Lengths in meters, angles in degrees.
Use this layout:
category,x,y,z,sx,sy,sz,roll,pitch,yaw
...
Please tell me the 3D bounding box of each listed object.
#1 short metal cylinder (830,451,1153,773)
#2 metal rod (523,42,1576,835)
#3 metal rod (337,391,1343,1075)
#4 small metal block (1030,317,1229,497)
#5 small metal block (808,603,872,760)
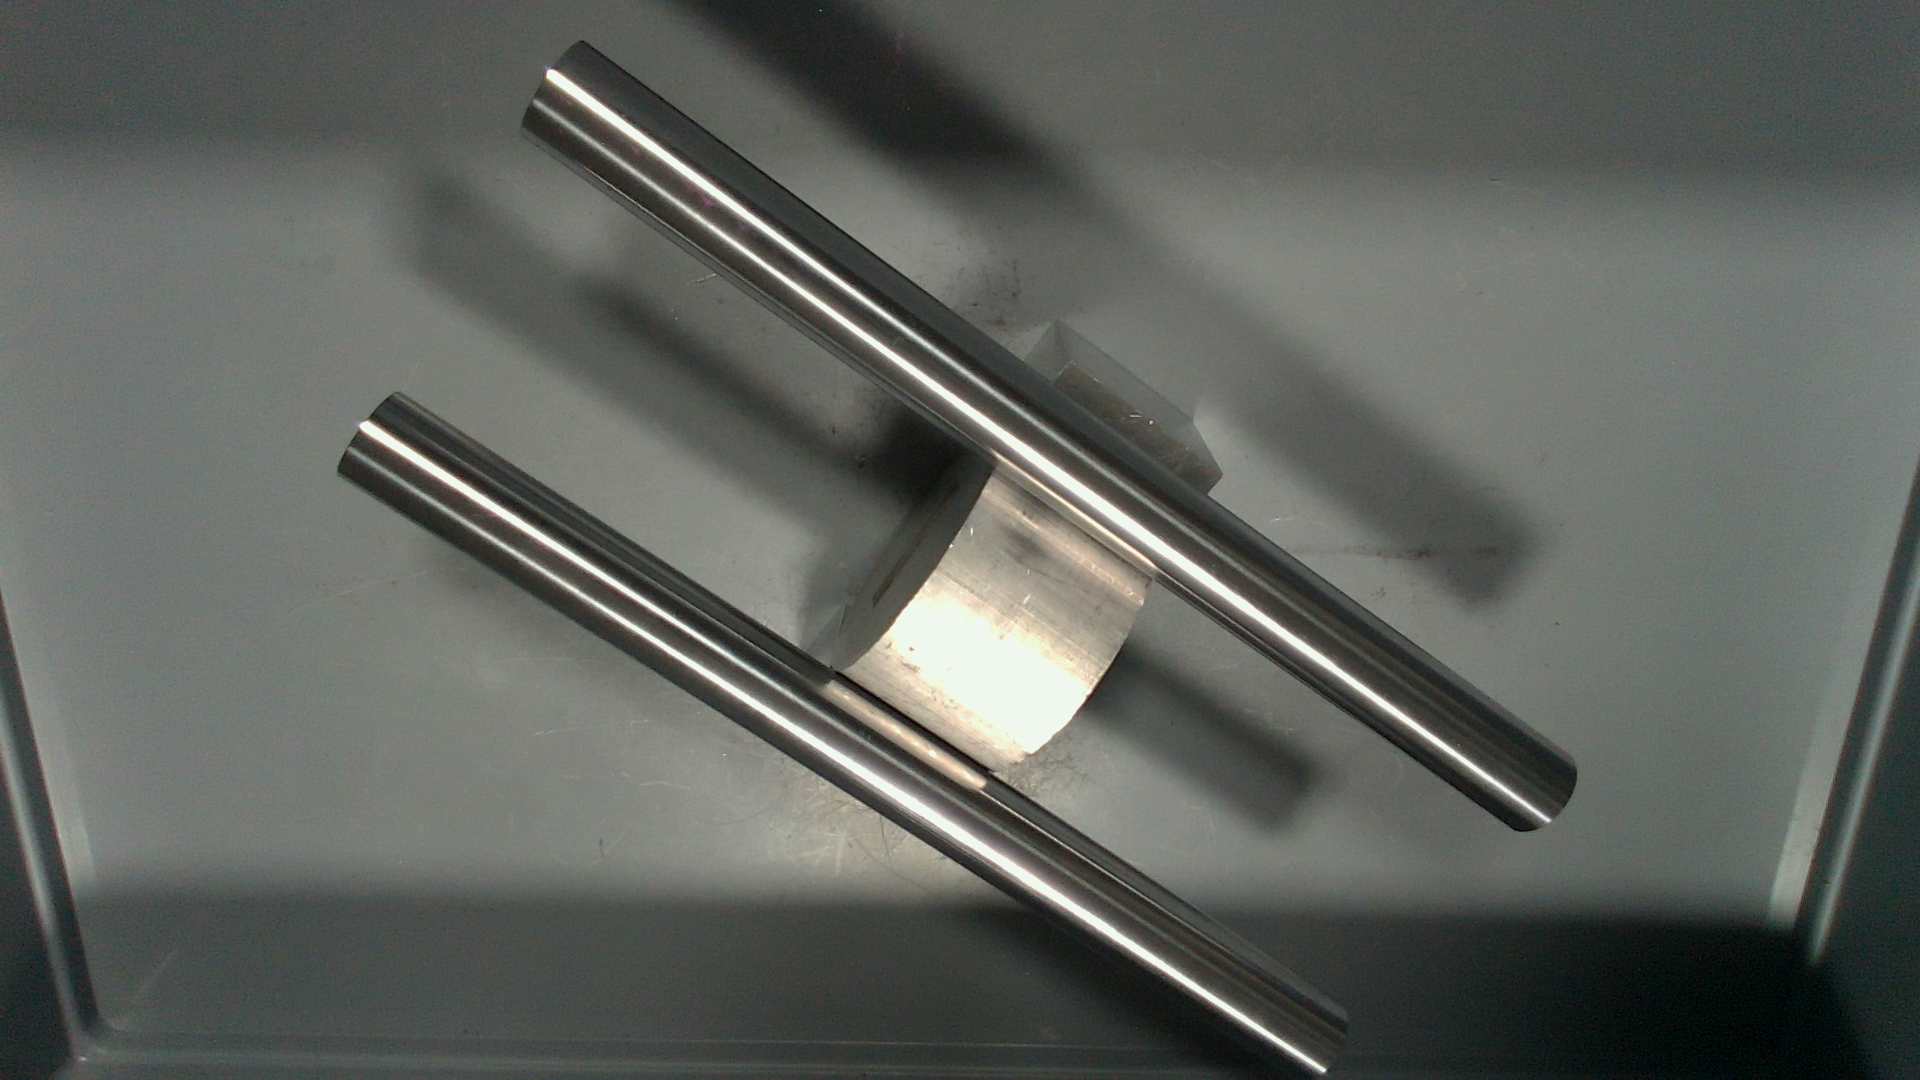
category,x,y,z,sx,sy,sz,roll,pitch,yaw
short metal cylinder,0.009,0.015,0.369,0.050,0.080,0.080,35,107,-12
metal rod,0.032,-0.016,0.334,0.300,0.025,0.025,34,107,-12
metal rod,-0.021,0.058,0.362,0.300,0.025,0.025,34,107,-12
small metal block,0.040,-0.030,0.368,0.050,0.050,0.025,35,107,-12
small metal block,-0.022,0.050,0.398,0.050,0.050,0.025,35,107,-12
